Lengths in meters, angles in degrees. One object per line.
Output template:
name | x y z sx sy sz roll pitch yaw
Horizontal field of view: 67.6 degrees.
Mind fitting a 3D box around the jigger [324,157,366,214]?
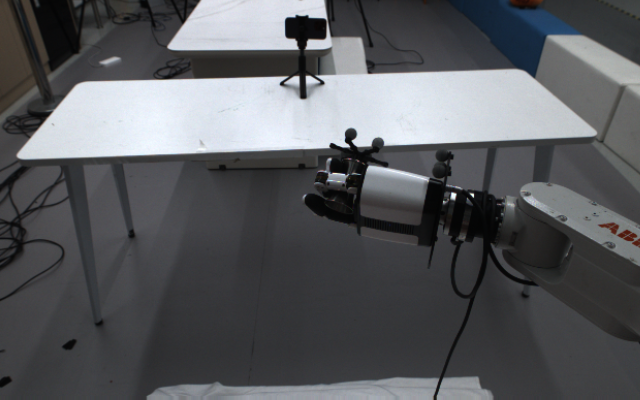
jigger | 0.038 -0.022 0.679 0.043 0.043 0.071 16 70 19
